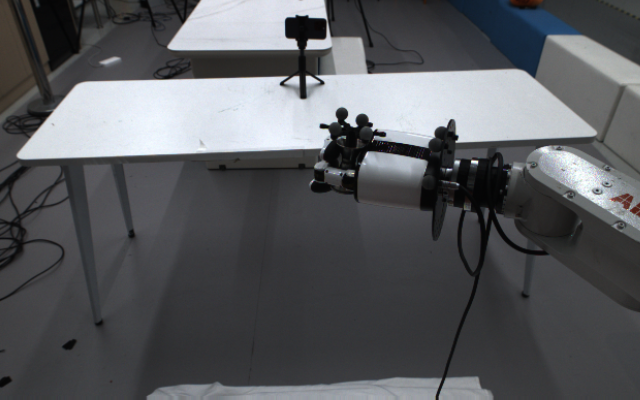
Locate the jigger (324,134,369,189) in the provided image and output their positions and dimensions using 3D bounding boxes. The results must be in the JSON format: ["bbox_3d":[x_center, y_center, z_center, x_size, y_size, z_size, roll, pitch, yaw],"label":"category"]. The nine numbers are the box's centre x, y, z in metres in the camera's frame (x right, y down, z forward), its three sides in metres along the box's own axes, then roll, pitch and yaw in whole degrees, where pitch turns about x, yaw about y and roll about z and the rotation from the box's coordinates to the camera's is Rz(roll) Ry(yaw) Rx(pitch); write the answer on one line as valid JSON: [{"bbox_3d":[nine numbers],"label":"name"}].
[{"bbox_3d":[0.040,-0.047,0.670,0.043,0.071,0.043,6,26,-3],"label":"jigger"}]
